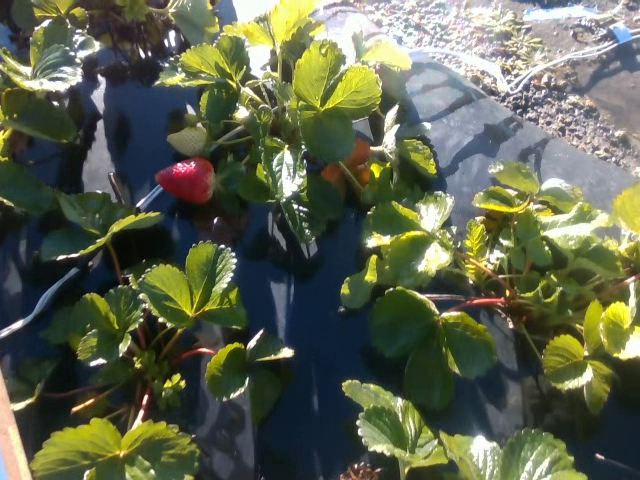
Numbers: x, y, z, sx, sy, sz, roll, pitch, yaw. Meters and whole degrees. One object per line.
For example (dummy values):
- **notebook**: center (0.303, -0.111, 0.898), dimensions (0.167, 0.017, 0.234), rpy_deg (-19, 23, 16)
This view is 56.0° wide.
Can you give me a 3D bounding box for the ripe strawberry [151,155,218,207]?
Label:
- **ripe strawberry**: center (-0.144, -0.067, 0.643), dimensions (0.080, 0.063, 0.040), rpy_deg (2, -1, -20)
